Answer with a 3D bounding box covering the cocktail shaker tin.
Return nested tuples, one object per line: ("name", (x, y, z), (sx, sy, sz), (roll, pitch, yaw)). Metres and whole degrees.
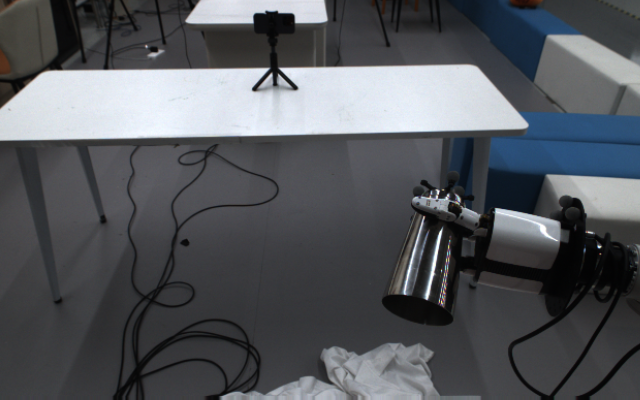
("cocktail shaker tin", (0.150, 0.068, 0.657), (0.093, 0.093, 0.170), (13, 59, 16))
